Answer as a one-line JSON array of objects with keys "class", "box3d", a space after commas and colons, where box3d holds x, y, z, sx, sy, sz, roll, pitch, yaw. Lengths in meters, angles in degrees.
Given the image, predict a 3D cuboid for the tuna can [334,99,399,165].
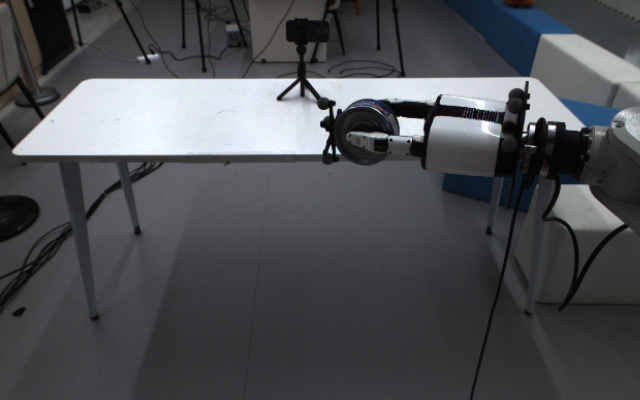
[{"class": "tuna can", "box3d": [0.065, -0.091, 0.655, 0.085, 0.085, 0.034, 12, 27, 14]}]
